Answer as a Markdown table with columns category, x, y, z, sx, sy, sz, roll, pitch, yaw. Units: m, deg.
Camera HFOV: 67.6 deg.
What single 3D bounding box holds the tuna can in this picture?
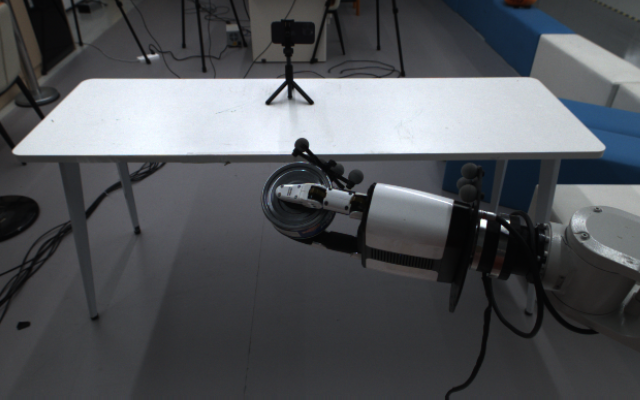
| category | x | y | z | sx | sy | sz | roll | pitch | yaw |
| --- | --- | --- | --- | --- | --- | --- | --- | --- | --- |
| tuna can | -0.020 | 0.006 | 0.558 | 0.085 | 0.034 | 0.085 | -4 | 69 | 10 |
